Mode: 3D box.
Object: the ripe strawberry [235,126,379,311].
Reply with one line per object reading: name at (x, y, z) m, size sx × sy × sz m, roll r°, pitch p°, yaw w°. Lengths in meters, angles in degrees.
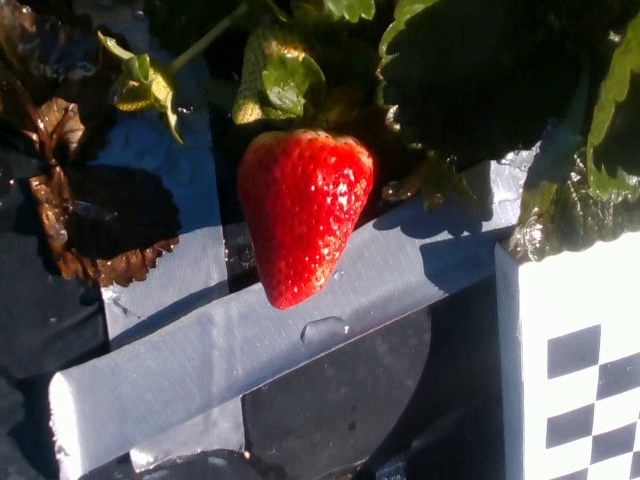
ripe strawberry at (-0.003, -0.004, 0.223) m, size 0.062 × 0.065 × 0.057 m, roll 11°, pitch -17°, yaw -22°
